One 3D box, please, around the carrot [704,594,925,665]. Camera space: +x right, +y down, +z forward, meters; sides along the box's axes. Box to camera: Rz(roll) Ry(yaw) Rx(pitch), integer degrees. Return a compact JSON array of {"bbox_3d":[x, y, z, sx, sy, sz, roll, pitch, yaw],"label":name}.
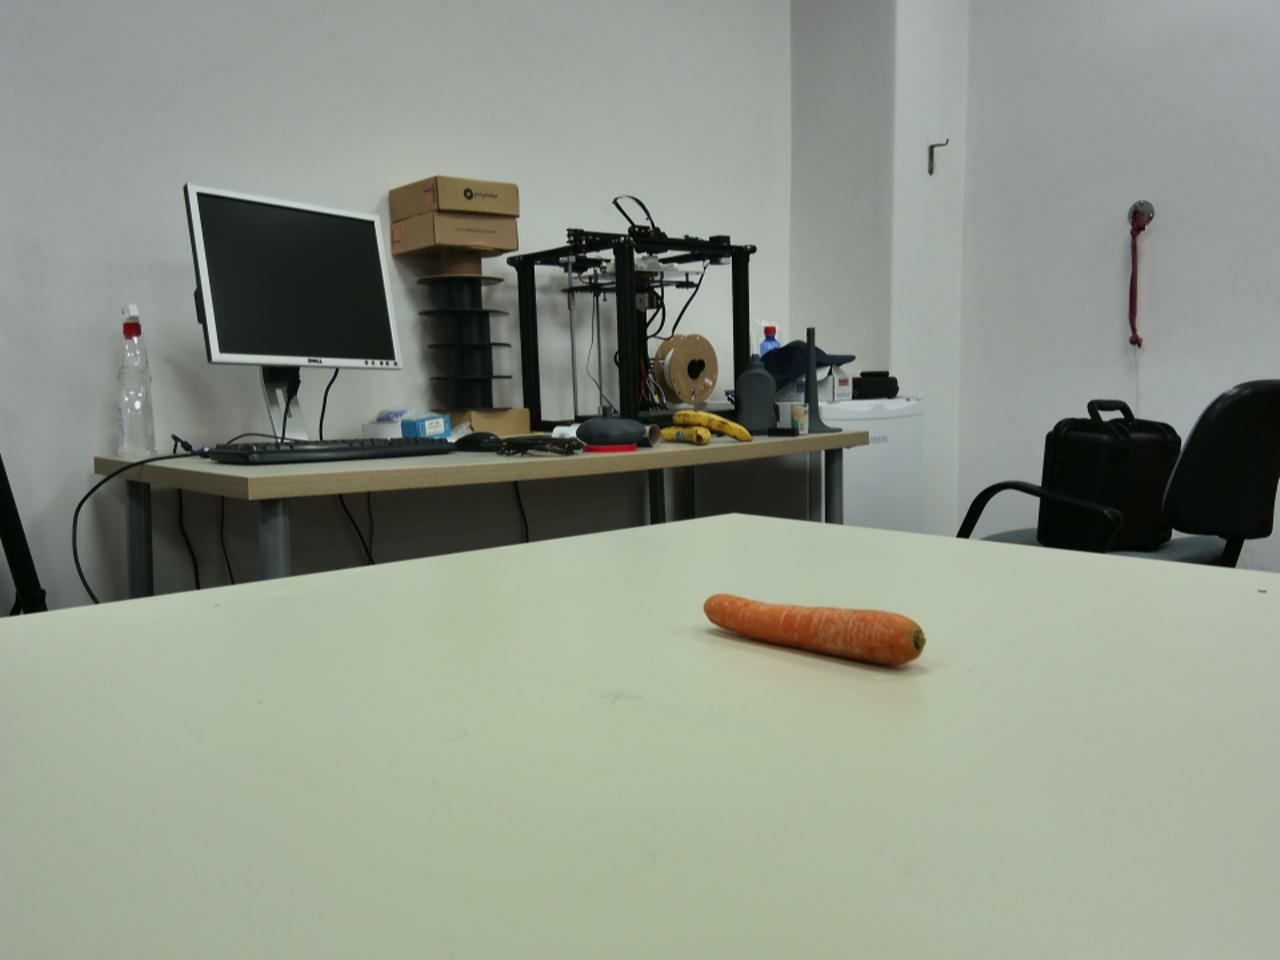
[{"bbox_3d":[0.078,0.068,0.473,0.024,0.023,0.122,-2,4,-44],"label":"carrot"}]
